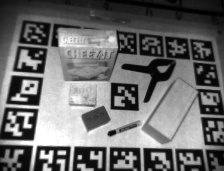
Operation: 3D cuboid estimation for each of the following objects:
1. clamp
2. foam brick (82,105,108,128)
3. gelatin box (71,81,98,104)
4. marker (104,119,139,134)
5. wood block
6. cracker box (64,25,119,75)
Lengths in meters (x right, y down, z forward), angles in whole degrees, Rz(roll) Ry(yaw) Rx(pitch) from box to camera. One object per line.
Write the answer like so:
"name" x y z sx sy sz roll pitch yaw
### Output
"clamp" 0.162 -0.058 0.805 0.204 0.036 0.164 -26 78 -17
"foam brick" -0.053 0.099 0.707 0.078 0.051 0.052 -20 77 -15
"gelatin box" -0.093 0.023 0.740 0.090 0.030 0.073 3 72 -8
"marker" 0.032 0.138 0.723 0.122 0.019 0.019 -15 76 -14
"wood block" 0.199 0.078 0.740 0.089 0.091 0.207 36 67 7
"cracker box" -0.063 -0.103 0.683 0.165 0.213 0.072 1 69 -10
